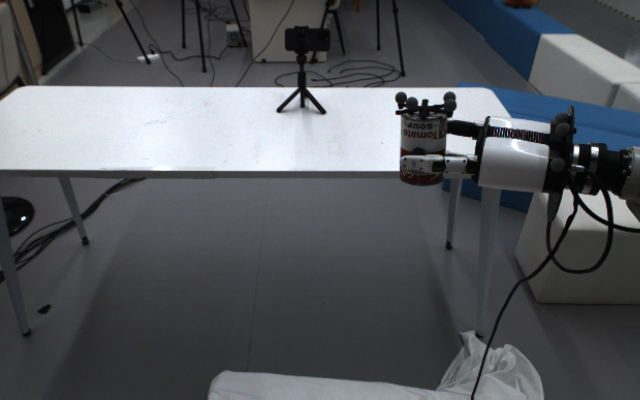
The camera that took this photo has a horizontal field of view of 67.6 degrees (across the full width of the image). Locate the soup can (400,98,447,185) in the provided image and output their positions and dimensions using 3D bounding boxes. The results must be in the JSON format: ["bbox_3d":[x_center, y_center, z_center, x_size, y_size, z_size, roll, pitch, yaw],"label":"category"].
[{"bbox_3d":[0.153,-0.082,0.714,0.067,0.101,0.067,-3,27,2],"label":"soup can"}]
